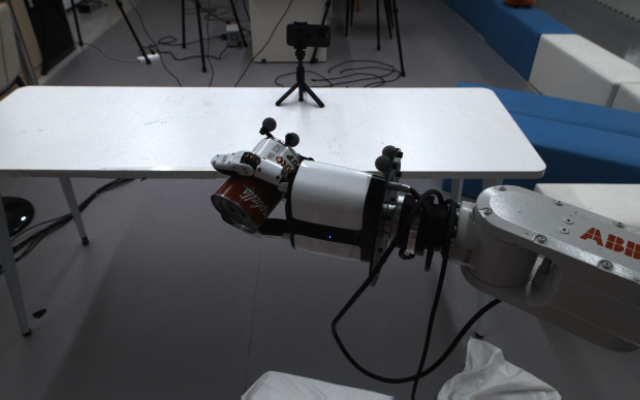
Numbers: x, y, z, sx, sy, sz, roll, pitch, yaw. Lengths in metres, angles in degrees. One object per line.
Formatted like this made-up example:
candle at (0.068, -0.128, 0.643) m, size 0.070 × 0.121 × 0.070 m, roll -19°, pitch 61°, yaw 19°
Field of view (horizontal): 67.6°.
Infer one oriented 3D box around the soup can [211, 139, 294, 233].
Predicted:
soup can at (-0.073, -0.019, 0.585) m, size 0.067 × 0.067 × 0.101 m, roll 22°, pitch 60°, yaw 26°
